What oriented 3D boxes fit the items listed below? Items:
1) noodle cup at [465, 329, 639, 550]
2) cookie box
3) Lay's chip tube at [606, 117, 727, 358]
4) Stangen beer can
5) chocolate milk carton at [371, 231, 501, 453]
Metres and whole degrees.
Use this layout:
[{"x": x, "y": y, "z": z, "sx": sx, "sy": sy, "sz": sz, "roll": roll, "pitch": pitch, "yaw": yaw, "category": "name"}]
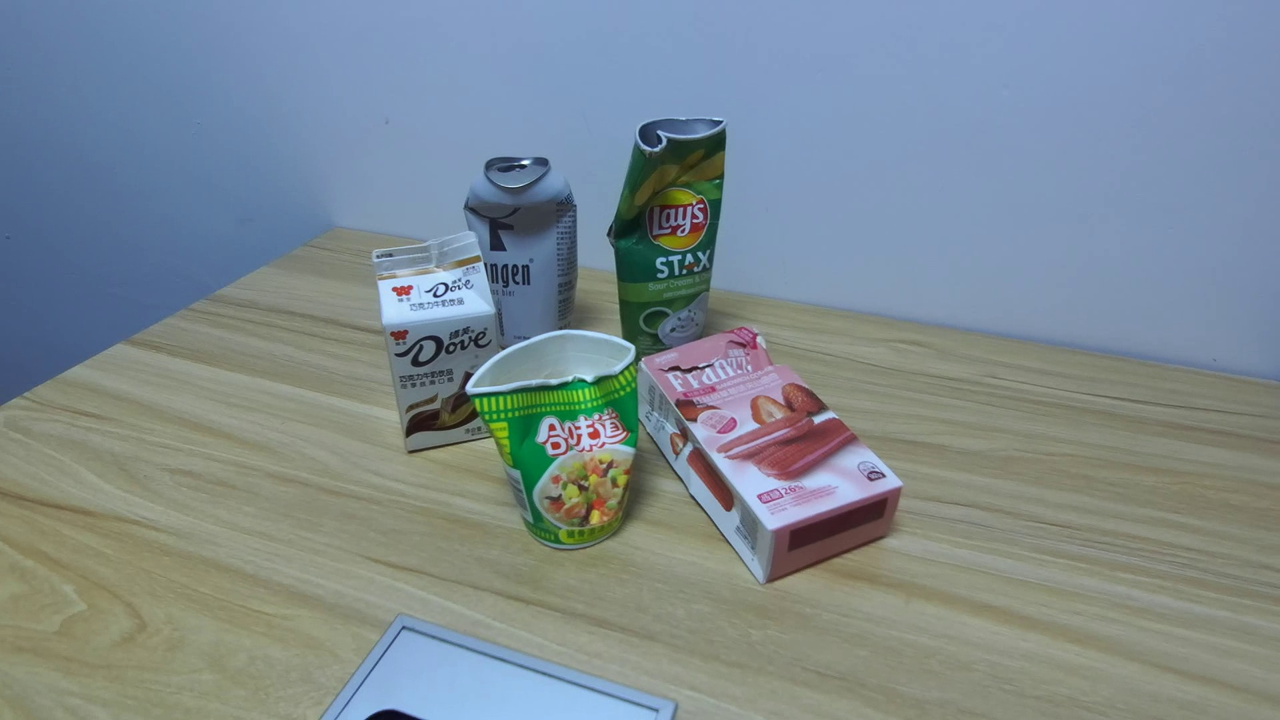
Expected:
[{"x": -0.042, "y": 0.050, "z": 0.434, "sx": 0.082, "sy": 0.122, "sz": 0.075, "roll": -1, "pitch": 24, "yaw": 16, "category": "noodle cup"}, {"x": 0.077, "y": 0.056, "z": 0.483, "sx": 0.105, "sy": 0.059, "sz": 0.185, "roll": -15, "pitch": 40, "yaw": -17, "category": "cookie box"}, {"x": 0.021, "y": -0.085, "z": 0.558, "sx": 0.069, "sy": 0.201, "sz": 0.077, "roll": 14, "pitch": 38, "yaw": 18, "category": "Lay's chip tube"}, {"x": -0.096, "y": -0.085, "z": 0.593, "sx": 0.077, "sy": 0.162, "sz": 0.065, "roll": -22, "pitch": 40, "yaw": -30, "category": "Stangen beer can"}, {"x": -0.142, "y": -0.018, "z": 0.504, "sx": 0.075, "sy": 0.148, "sz": 0.074, "roll": -9, "pitch": 35, "yaw": -17, "category": "chocolate milk carton"}]
